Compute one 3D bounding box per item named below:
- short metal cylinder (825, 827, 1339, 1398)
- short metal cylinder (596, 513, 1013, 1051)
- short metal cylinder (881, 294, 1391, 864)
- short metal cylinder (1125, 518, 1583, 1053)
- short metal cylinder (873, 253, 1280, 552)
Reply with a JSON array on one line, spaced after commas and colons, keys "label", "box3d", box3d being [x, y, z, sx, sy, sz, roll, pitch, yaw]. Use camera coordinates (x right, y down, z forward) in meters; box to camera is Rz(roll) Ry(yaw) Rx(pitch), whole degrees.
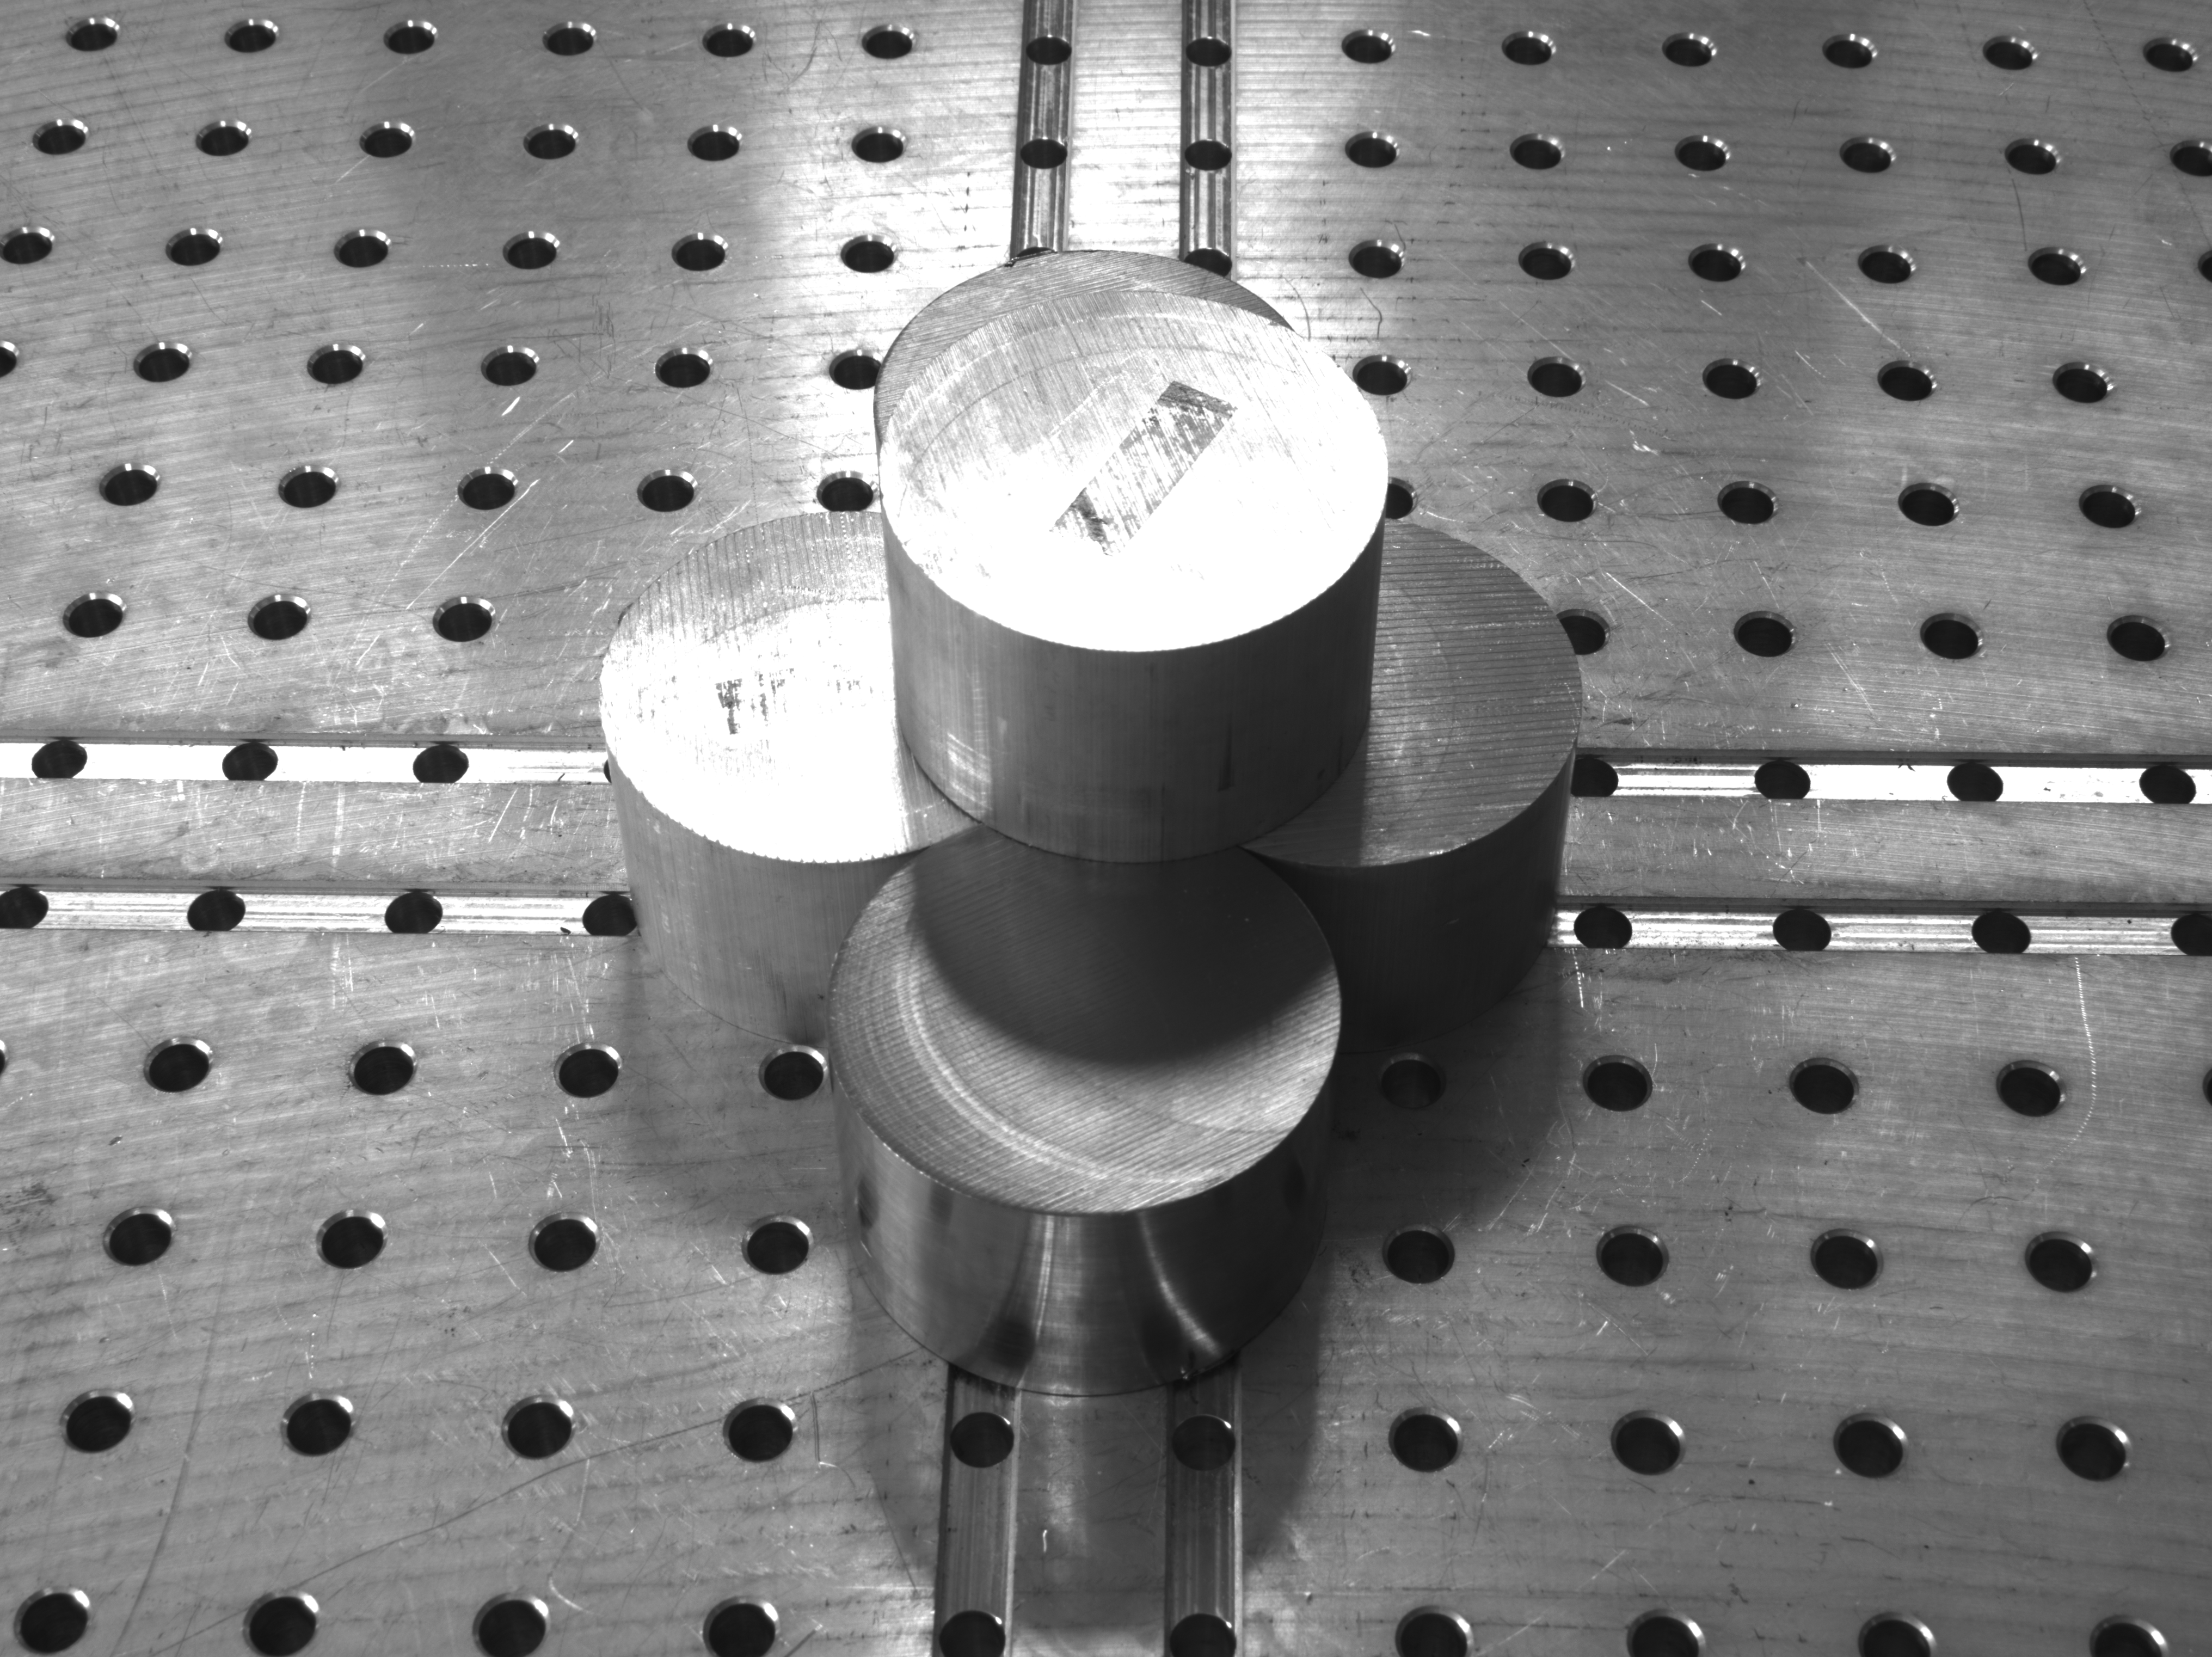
[{"label": "short metal cylinder", "box3d": [-0.004, 0.044, 0.592, 0.080, 0.050, 0.080, 0, 48, 0]}, {"label": "short metal cylinder", "box3d": [-0.045, -0.008, 0.637, 0.080, 0.050, 0.080, 0, 50, 0]}, {"label": "short metal cylinder", "box3d": [0.005, -0.041, 0.598, 0.080, 0.050, 0.080, 0, 50, 0]}, {"label": "short metal cylinder", "box3d": [0.040, -0.008, 0.636, 0.080, 0.050, 0.080, 0, 50, 0]}, {"label": "short metal cylinder", "box3d": [-0.002, -0.061, 0.681, 0.080, 0.050, 0.080, 1, 50, -1]}]
